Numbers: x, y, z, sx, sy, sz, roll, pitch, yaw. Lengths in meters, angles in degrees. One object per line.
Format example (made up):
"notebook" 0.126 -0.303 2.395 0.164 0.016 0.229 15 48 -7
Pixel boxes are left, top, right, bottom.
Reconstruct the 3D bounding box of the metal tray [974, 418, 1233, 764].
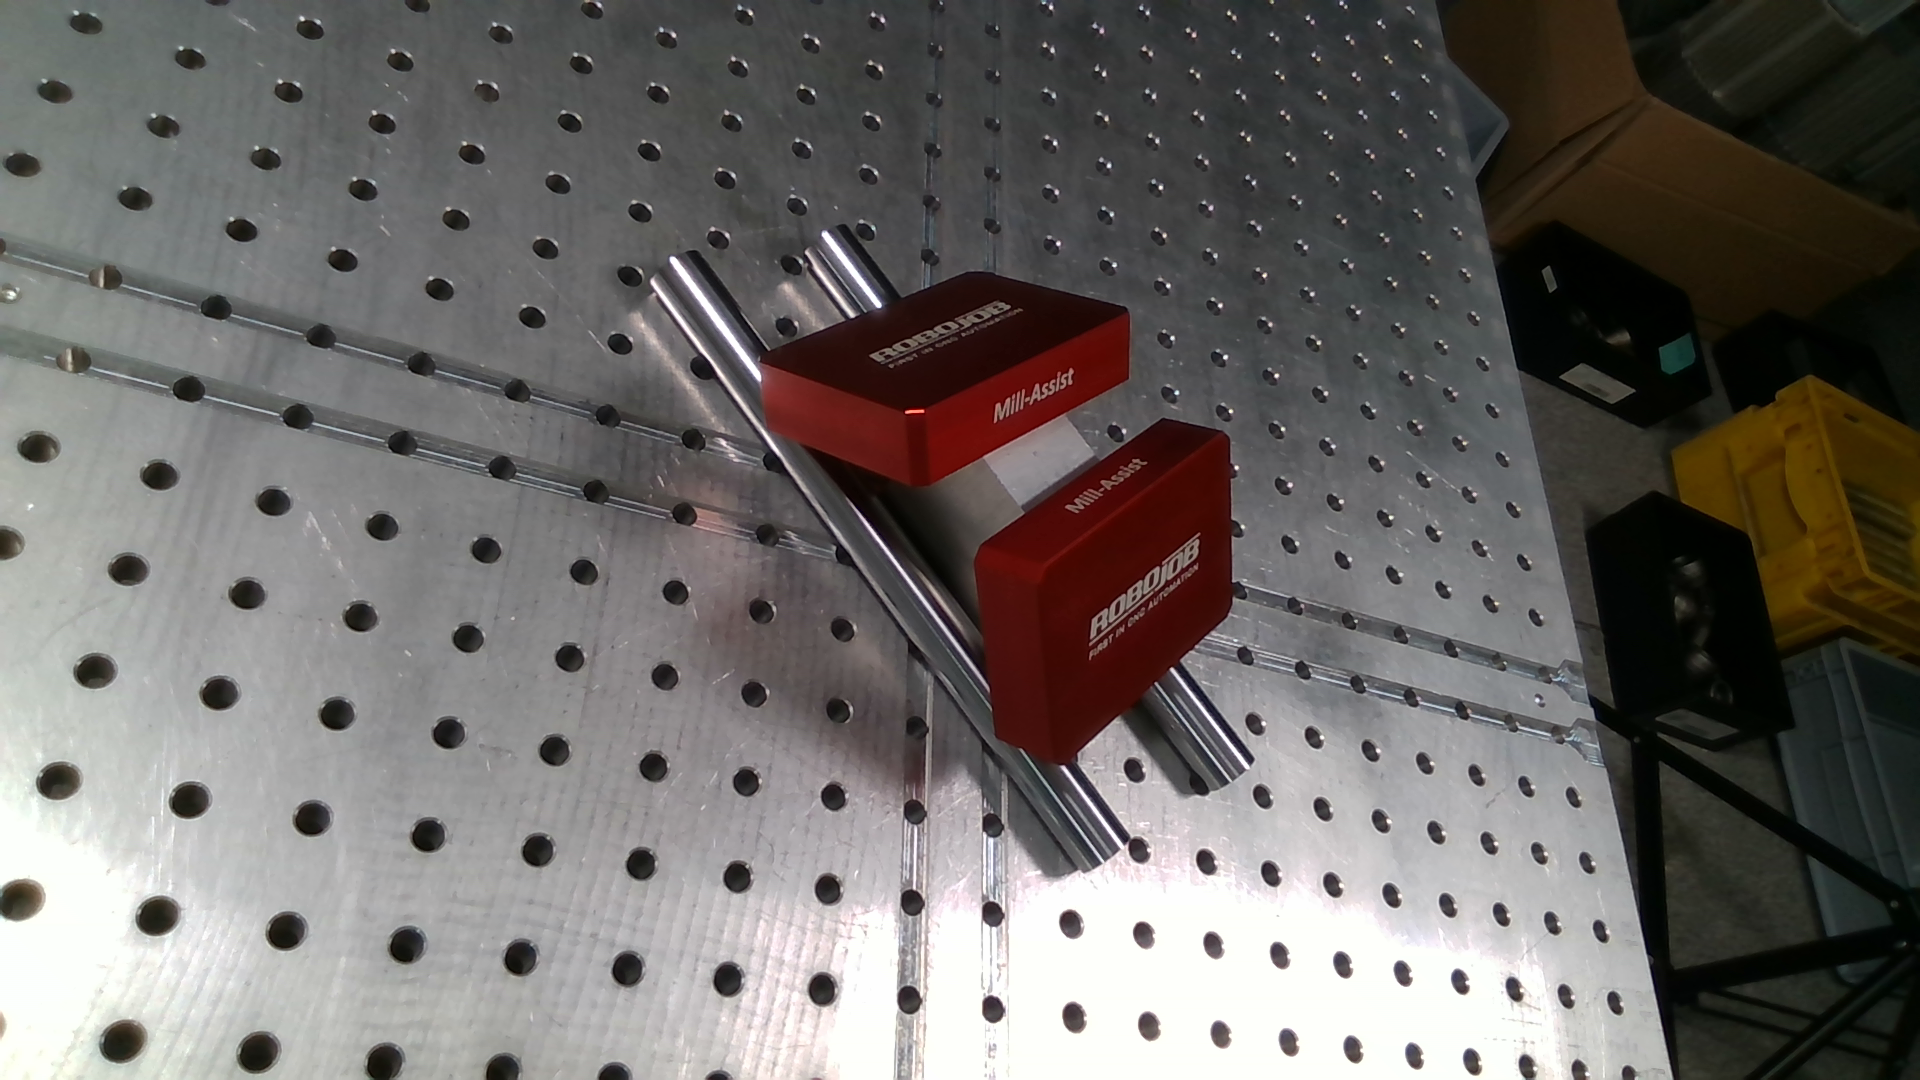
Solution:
"metal tray" 0.062 0.017 0.547 0.130 0.030 0.090 -34 129 -39

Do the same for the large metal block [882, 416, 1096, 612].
"large metal block" 0.018 -0.009 0.569 0.050 0.080 0.080 -33 85 -39

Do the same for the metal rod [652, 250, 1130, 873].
"metal rod" -0.030 0.007 0.567 0.025 0.025 0.300 -33 85 -39

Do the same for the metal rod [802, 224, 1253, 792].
"metal rod" 0.029 -0.016 0.616 0.025 0.025 0.300 -34 86 -39

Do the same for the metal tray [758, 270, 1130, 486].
"metal tray" -0.004 -0.070 0.554 0.090 0.030 0.130 23 38 37
